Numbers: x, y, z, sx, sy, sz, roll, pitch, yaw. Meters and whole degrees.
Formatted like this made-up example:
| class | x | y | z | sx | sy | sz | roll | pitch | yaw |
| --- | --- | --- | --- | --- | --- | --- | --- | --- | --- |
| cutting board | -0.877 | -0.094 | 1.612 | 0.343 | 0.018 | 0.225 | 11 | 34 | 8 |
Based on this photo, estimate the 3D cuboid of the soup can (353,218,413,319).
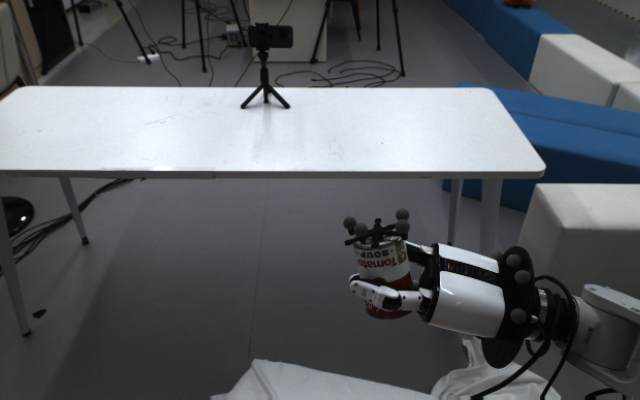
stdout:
| class | x | y | z | sx | sy | sz | roll | pitch | yaw |
| --- | --- | --- | --- | --- | --- | --- | --- | --- | --- |
| soup can | 0.086 | 0.092 | 0.626 | 0.067 | 0.101 | 0.067 | -12 | 17 | 4 |
